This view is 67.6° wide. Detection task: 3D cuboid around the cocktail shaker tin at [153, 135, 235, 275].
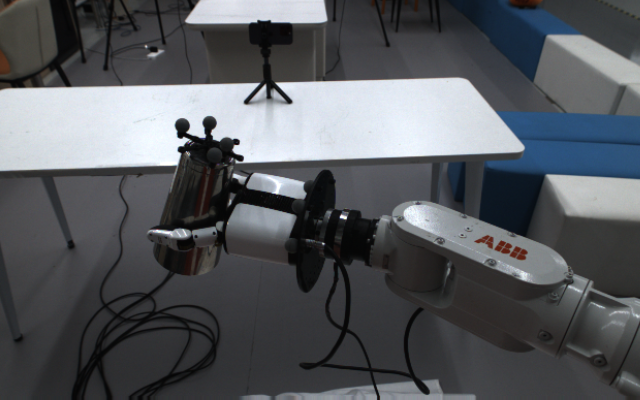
[{"bbox_3d":[-0.162,0.005,0.640,0.093,0.170,0.093,16,31,-10],"label":"cocktail shaker tin"}]
